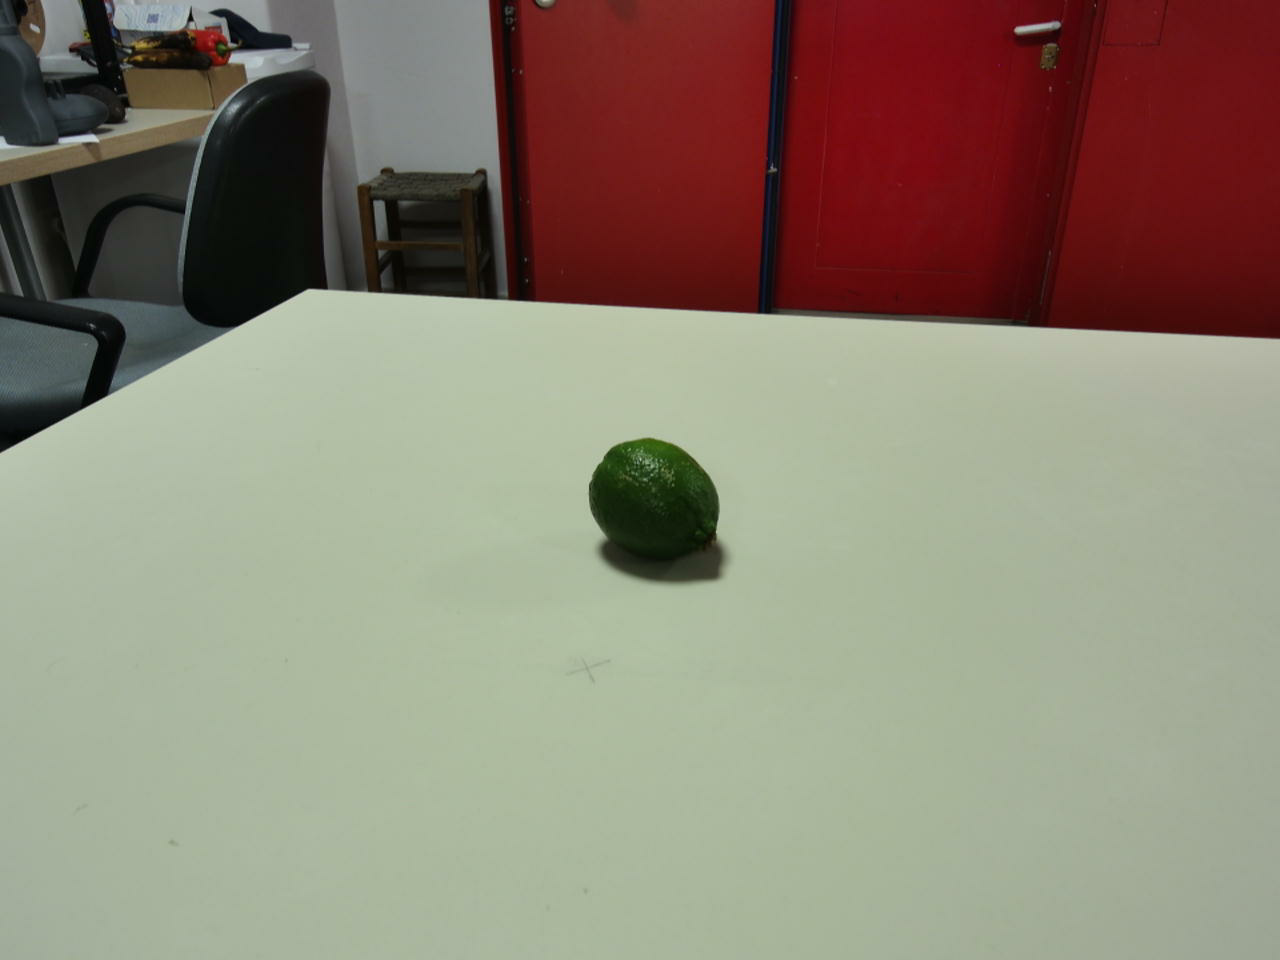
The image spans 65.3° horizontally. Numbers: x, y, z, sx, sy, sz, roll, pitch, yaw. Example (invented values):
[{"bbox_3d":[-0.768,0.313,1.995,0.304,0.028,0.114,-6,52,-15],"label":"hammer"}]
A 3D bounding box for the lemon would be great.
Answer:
[{"bbox_3d":[0.006,0.007,0.437,0.057,0.051,0.054,2,25,8],"label":"lemon"}]
